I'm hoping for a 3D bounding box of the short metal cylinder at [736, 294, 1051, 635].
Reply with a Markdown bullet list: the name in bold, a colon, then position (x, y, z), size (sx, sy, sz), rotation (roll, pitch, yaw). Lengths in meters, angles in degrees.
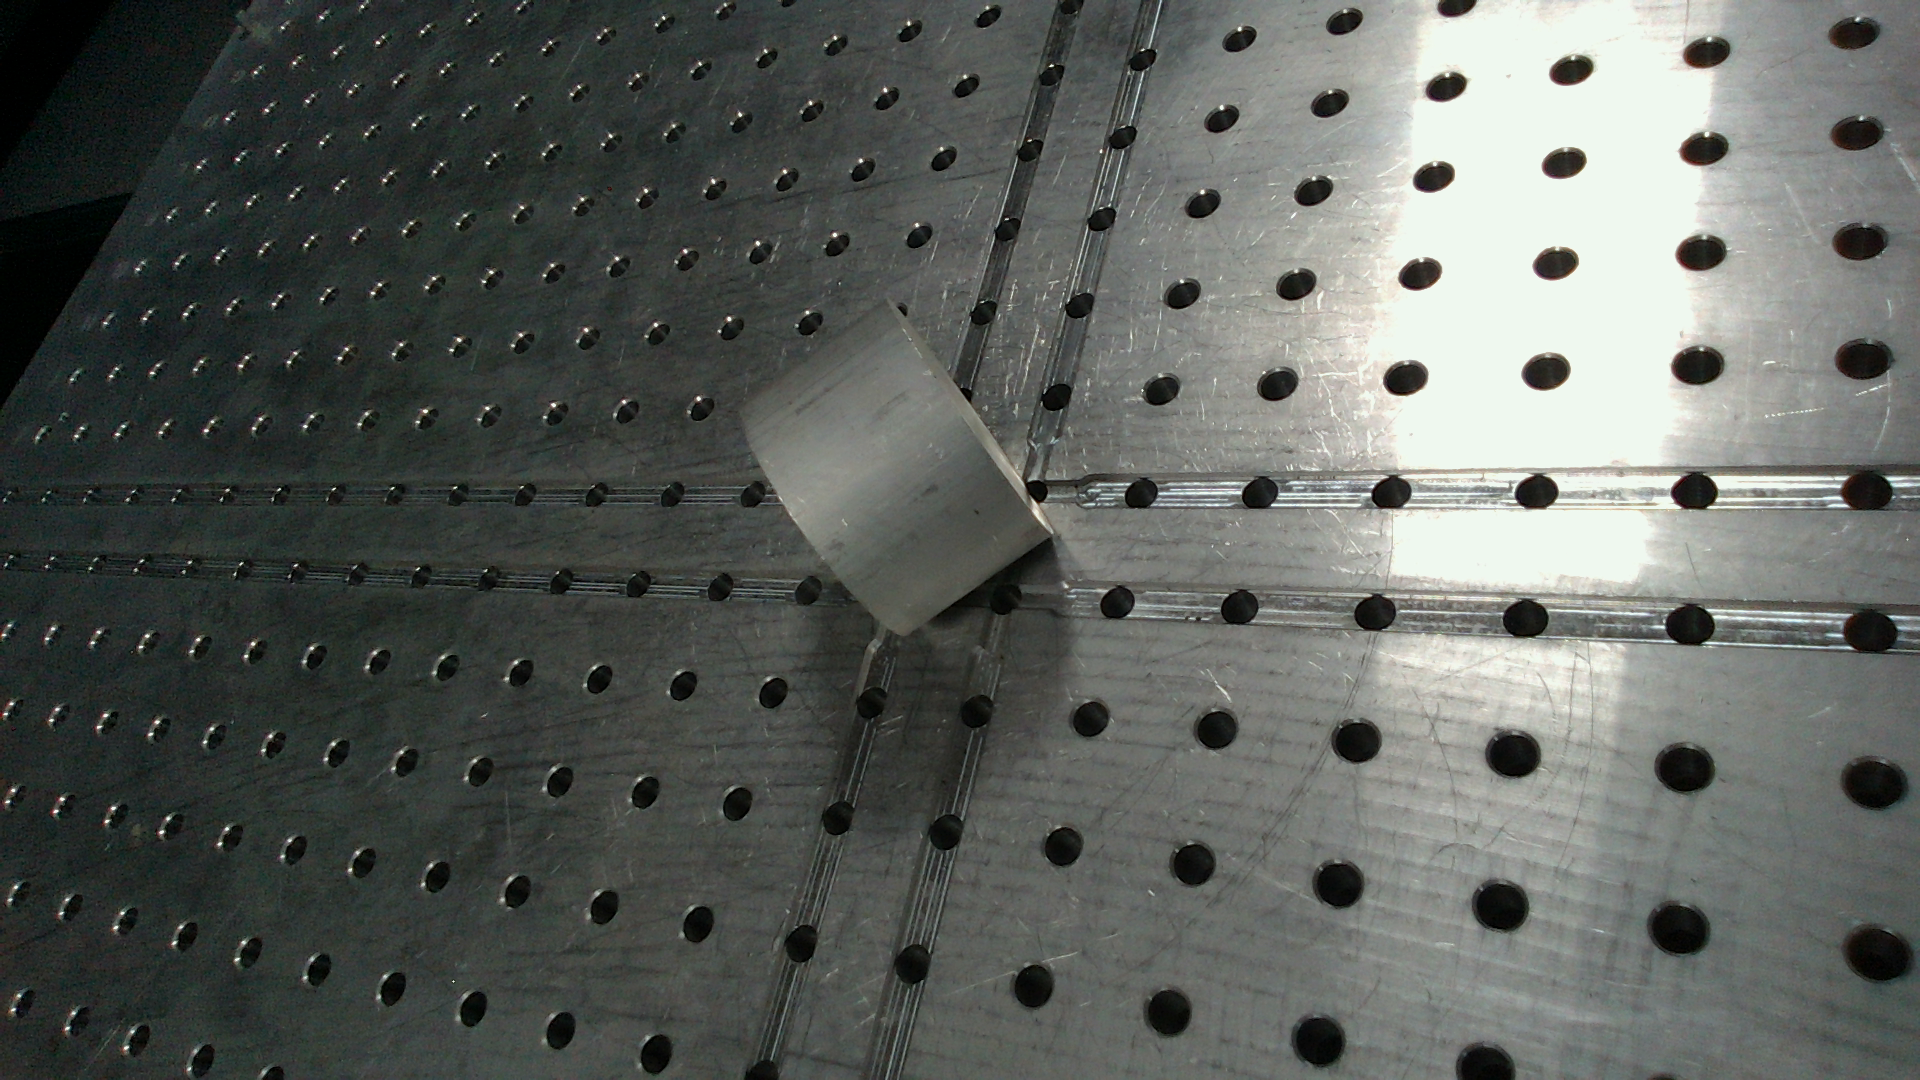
- **short metal cylinder**: position (-0.017, -0.021, 0.383), size (0.050, 0.080, 0.080), rotation (-35, 51, 5)
